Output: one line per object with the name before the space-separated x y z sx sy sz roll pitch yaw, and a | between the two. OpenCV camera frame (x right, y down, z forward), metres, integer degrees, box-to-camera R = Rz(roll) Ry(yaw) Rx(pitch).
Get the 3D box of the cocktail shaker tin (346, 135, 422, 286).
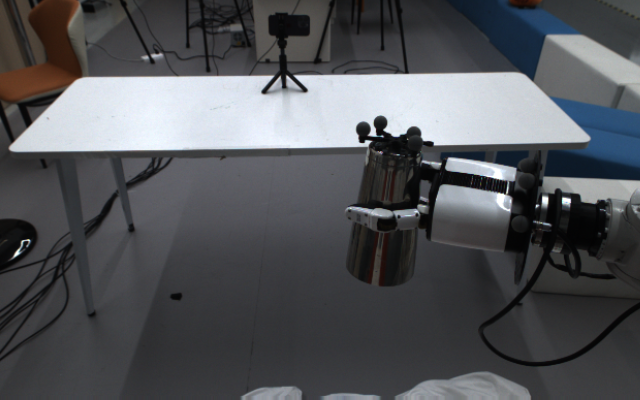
cocktail shaker tin | 0.087 0.012 0.617 0.093 0.170 0.093 2 26 -1
